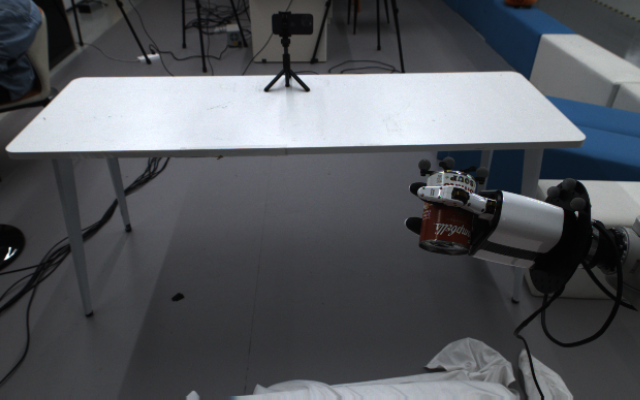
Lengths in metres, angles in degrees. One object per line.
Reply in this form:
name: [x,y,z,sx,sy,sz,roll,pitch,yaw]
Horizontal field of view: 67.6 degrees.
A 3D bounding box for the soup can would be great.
soup can: [0.176,0.017,0.661,0.067,0.067,0.101,8,72,9]
